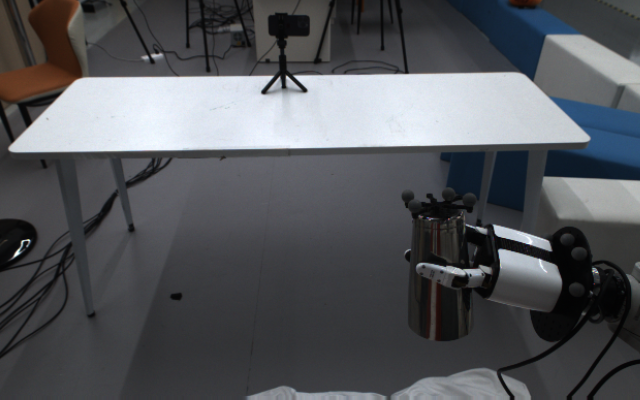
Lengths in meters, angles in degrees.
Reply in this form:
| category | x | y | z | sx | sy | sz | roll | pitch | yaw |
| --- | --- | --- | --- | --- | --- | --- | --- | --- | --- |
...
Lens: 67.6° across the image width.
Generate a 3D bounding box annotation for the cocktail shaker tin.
| category | x | y | z | sx | sy | sz | roll | pitch | yaw |
| --- | --- | --- | --- | --- | --- | --- | --- | --- | --- |
| cocktail shaker tin | 0.164 | 0.094 | 0.663 | 0.093 | 0.170 | 0.093 | -6 | 19 | 2 |
